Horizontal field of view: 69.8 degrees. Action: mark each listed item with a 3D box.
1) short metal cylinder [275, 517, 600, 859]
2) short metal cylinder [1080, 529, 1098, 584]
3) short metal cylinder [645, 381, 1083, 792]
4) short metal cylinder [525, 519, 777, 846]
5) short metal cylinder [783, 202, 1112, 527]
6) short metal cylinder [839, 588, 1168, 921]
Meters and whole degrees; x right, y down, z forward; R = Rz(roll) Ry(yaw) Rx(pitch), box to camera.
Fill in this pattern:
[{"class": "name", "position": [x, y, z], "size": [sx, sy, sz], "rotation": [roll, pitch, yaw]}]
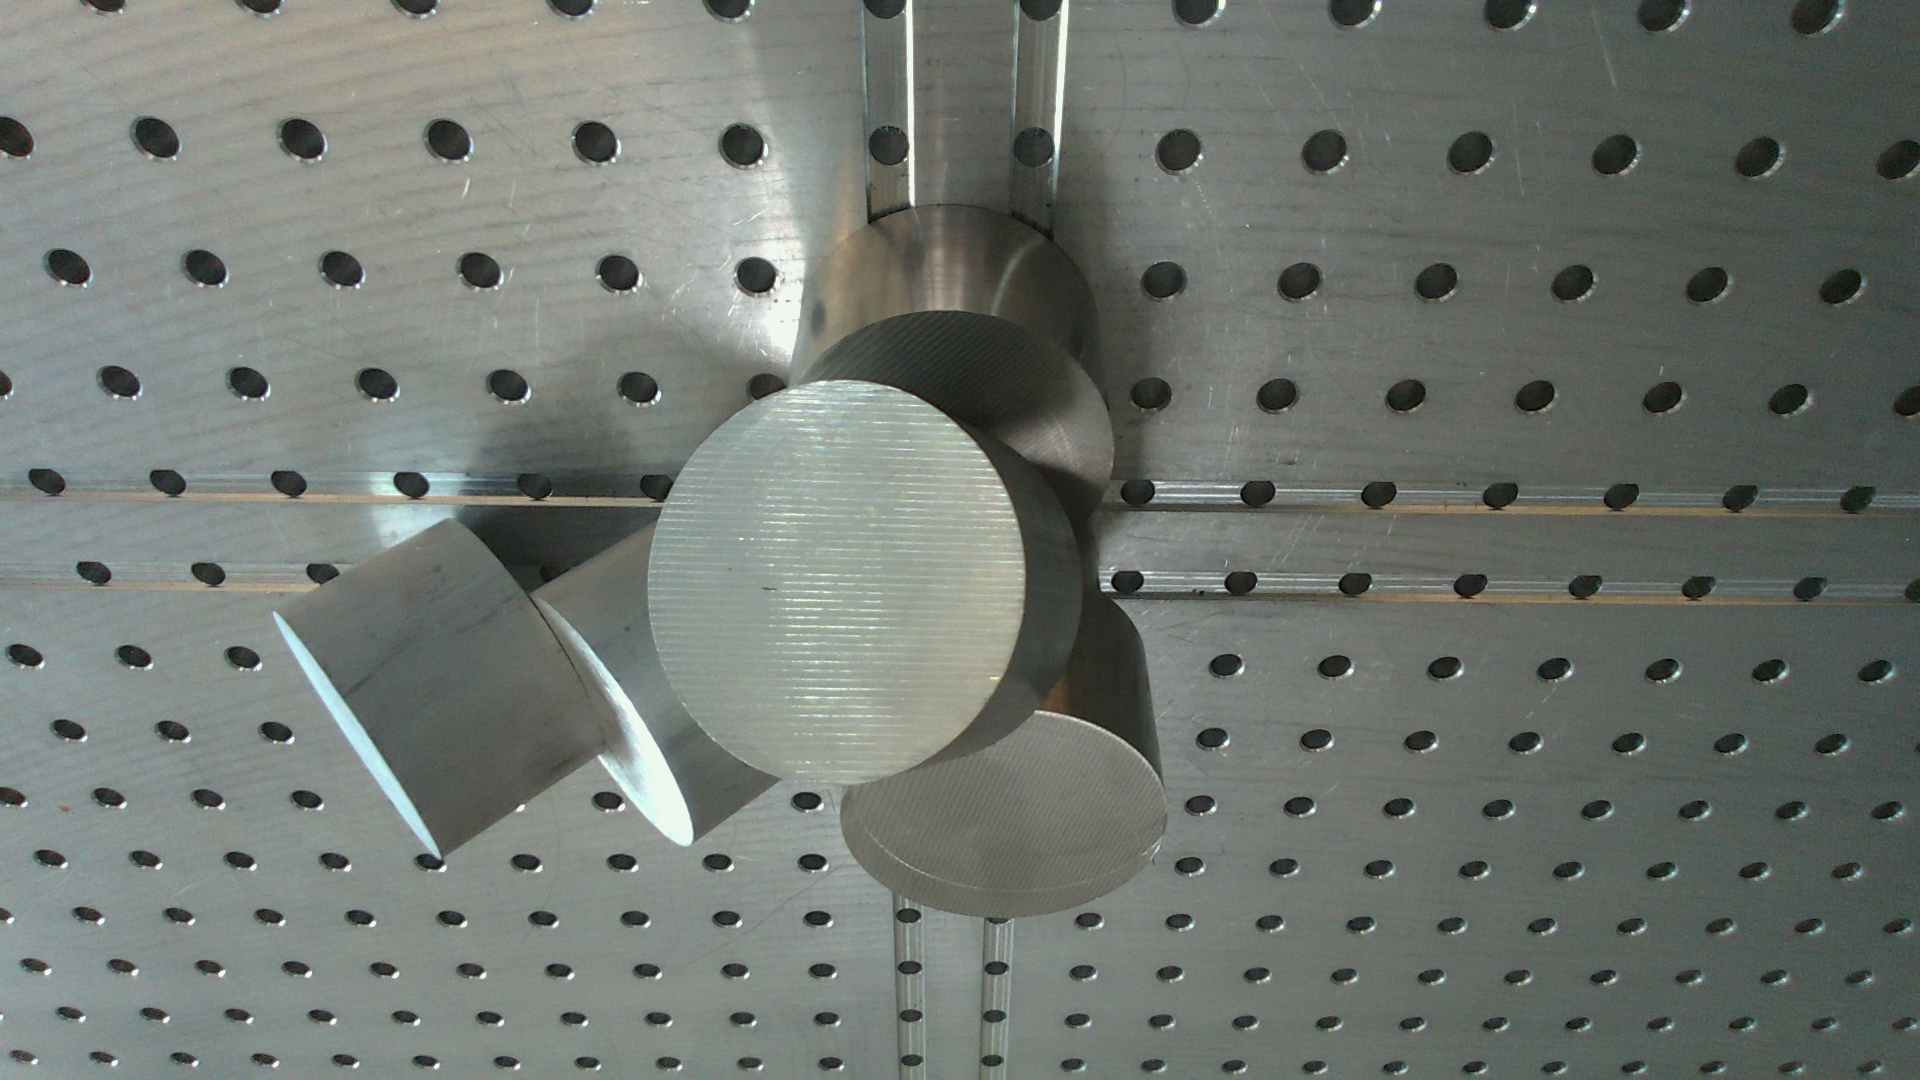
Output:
[{"class": "short metal cylinder", "position": [-0.144, 0.041, 0.383], "size": [0.050, 0.080, 0.080], "rotation": [-35, 136, -27]}, {"class": "short metal cylinder", "position": [0.001, 0.025, 0.398], "size": [0.080, 0.050, 0.080], "rotation": [0, 130, 0]}, {"class": "short metal cylinder", "position": [-0.018, 0.010, 0.292], "size": [0.080, 0.080, 0.050], "rotation": [-19, 171, 15]}, {"class": "short metal cylinder", "position": [-0.076, 0.037, 0.379], "size": [0.050, 0.080, 0.080], "rotation": [-34, 136, -26]}, {"class": "short metal cylinder", "position": [-0.004, -0.037, 0.346], "size": [0.080, 0.050, 0.080], "rotation": [0, 130, 0]}, {"class": "short metal cylinder", "position": [0.011, 0.054, 0.355], "size": [0.080, 0.050, 0.080], "rotation": [0, 130, 0]}]
